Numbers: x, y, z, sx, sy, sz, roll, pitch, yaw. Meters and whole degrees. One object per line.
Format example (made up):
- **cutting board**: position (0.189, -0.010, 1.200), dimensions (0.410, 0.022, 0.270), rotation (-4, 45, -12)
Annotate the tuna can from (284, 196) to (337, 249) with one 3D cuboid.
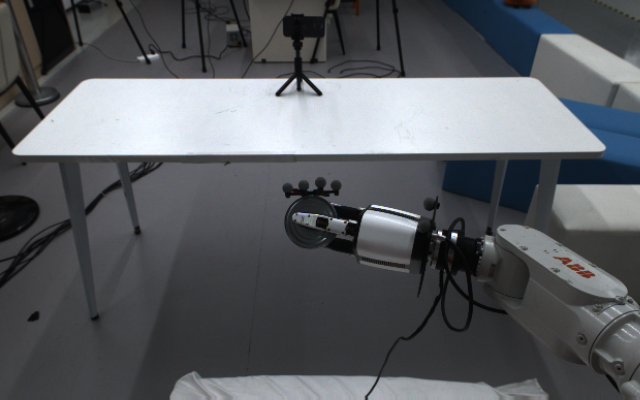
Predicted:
- **tuna can**: position (-0.010, 0.041, 0.772), dimensions (0.085, 0.085, 0.034), rotation (10, -6, 11)
